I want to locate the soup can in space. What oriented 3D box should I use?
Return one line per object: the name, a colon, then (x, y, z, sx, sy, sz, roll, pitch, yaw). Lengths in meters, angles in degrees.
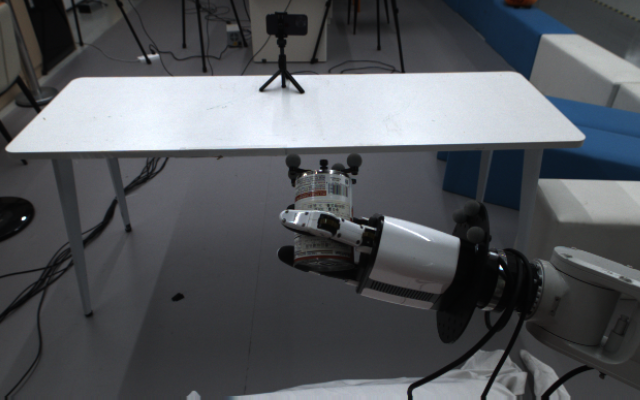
soup can: (0.006, 0.025, 0.540, 0.067, 0.067, 0.101, 1, 73, -2)
